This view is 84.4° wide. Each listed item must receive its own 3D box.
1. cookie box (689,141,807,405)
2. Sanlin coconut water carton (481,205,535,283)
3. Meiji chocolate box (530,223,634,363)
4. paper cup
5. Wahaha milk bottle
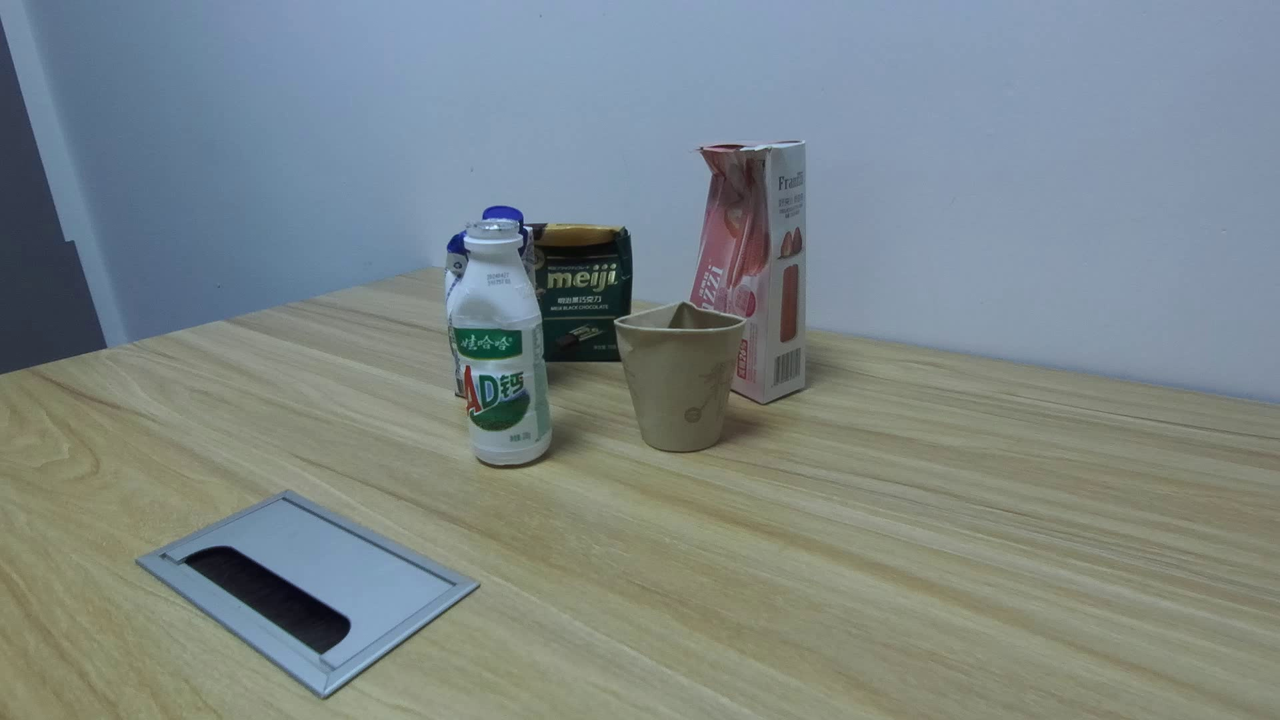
[{"bbox_3d":[0.076,-0.069,0.533,0.056,0.184,0.118,-11,22,-26],"label":"cookie box"},{"bbox_3d":[-0.111,-0.042,0.524,0.069,0.144,0.061,13,24,36],"label":"Sanlin coconut water carton"},{"bbox_3d":[-0.065,-0.057,0.629,0.113,0.110,0.058,-1,9,8],"label":"Meiji chocolate box"},{"bbox_3d":[0.025,0.012,0.455,0.066,0.084,0.071,-16,24,-36],"label":"paper cup"},{"bbox_3d":[-0.083,-0.010,0.435,0.055,0.149,0.055,-1,19,1],"label":"Wahaha milk bottle"}]
